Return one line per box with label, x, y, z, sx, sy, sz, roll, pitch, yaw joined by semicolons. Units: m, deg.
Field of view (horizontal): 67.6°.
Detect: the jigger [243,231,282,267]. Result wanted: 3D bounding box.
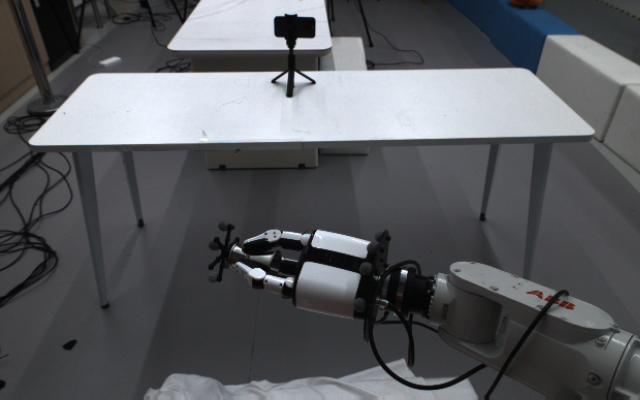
jigger;-0.094;0.086;0.725;0.071;0.043;0.043;10;36;15
